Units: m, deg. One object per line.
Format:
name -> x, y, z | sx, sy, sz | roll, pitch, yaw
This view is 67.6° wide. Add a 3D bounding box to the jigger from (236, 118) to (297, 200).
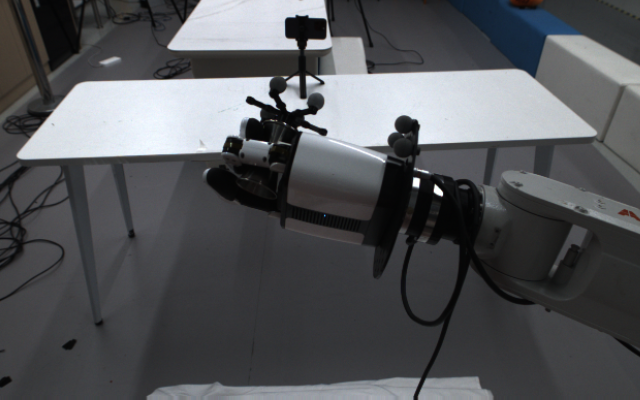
jigger -> -0.049, -0.042, 0.480 | 0.043, 0.043, 0.071 | 15, 70, 18
